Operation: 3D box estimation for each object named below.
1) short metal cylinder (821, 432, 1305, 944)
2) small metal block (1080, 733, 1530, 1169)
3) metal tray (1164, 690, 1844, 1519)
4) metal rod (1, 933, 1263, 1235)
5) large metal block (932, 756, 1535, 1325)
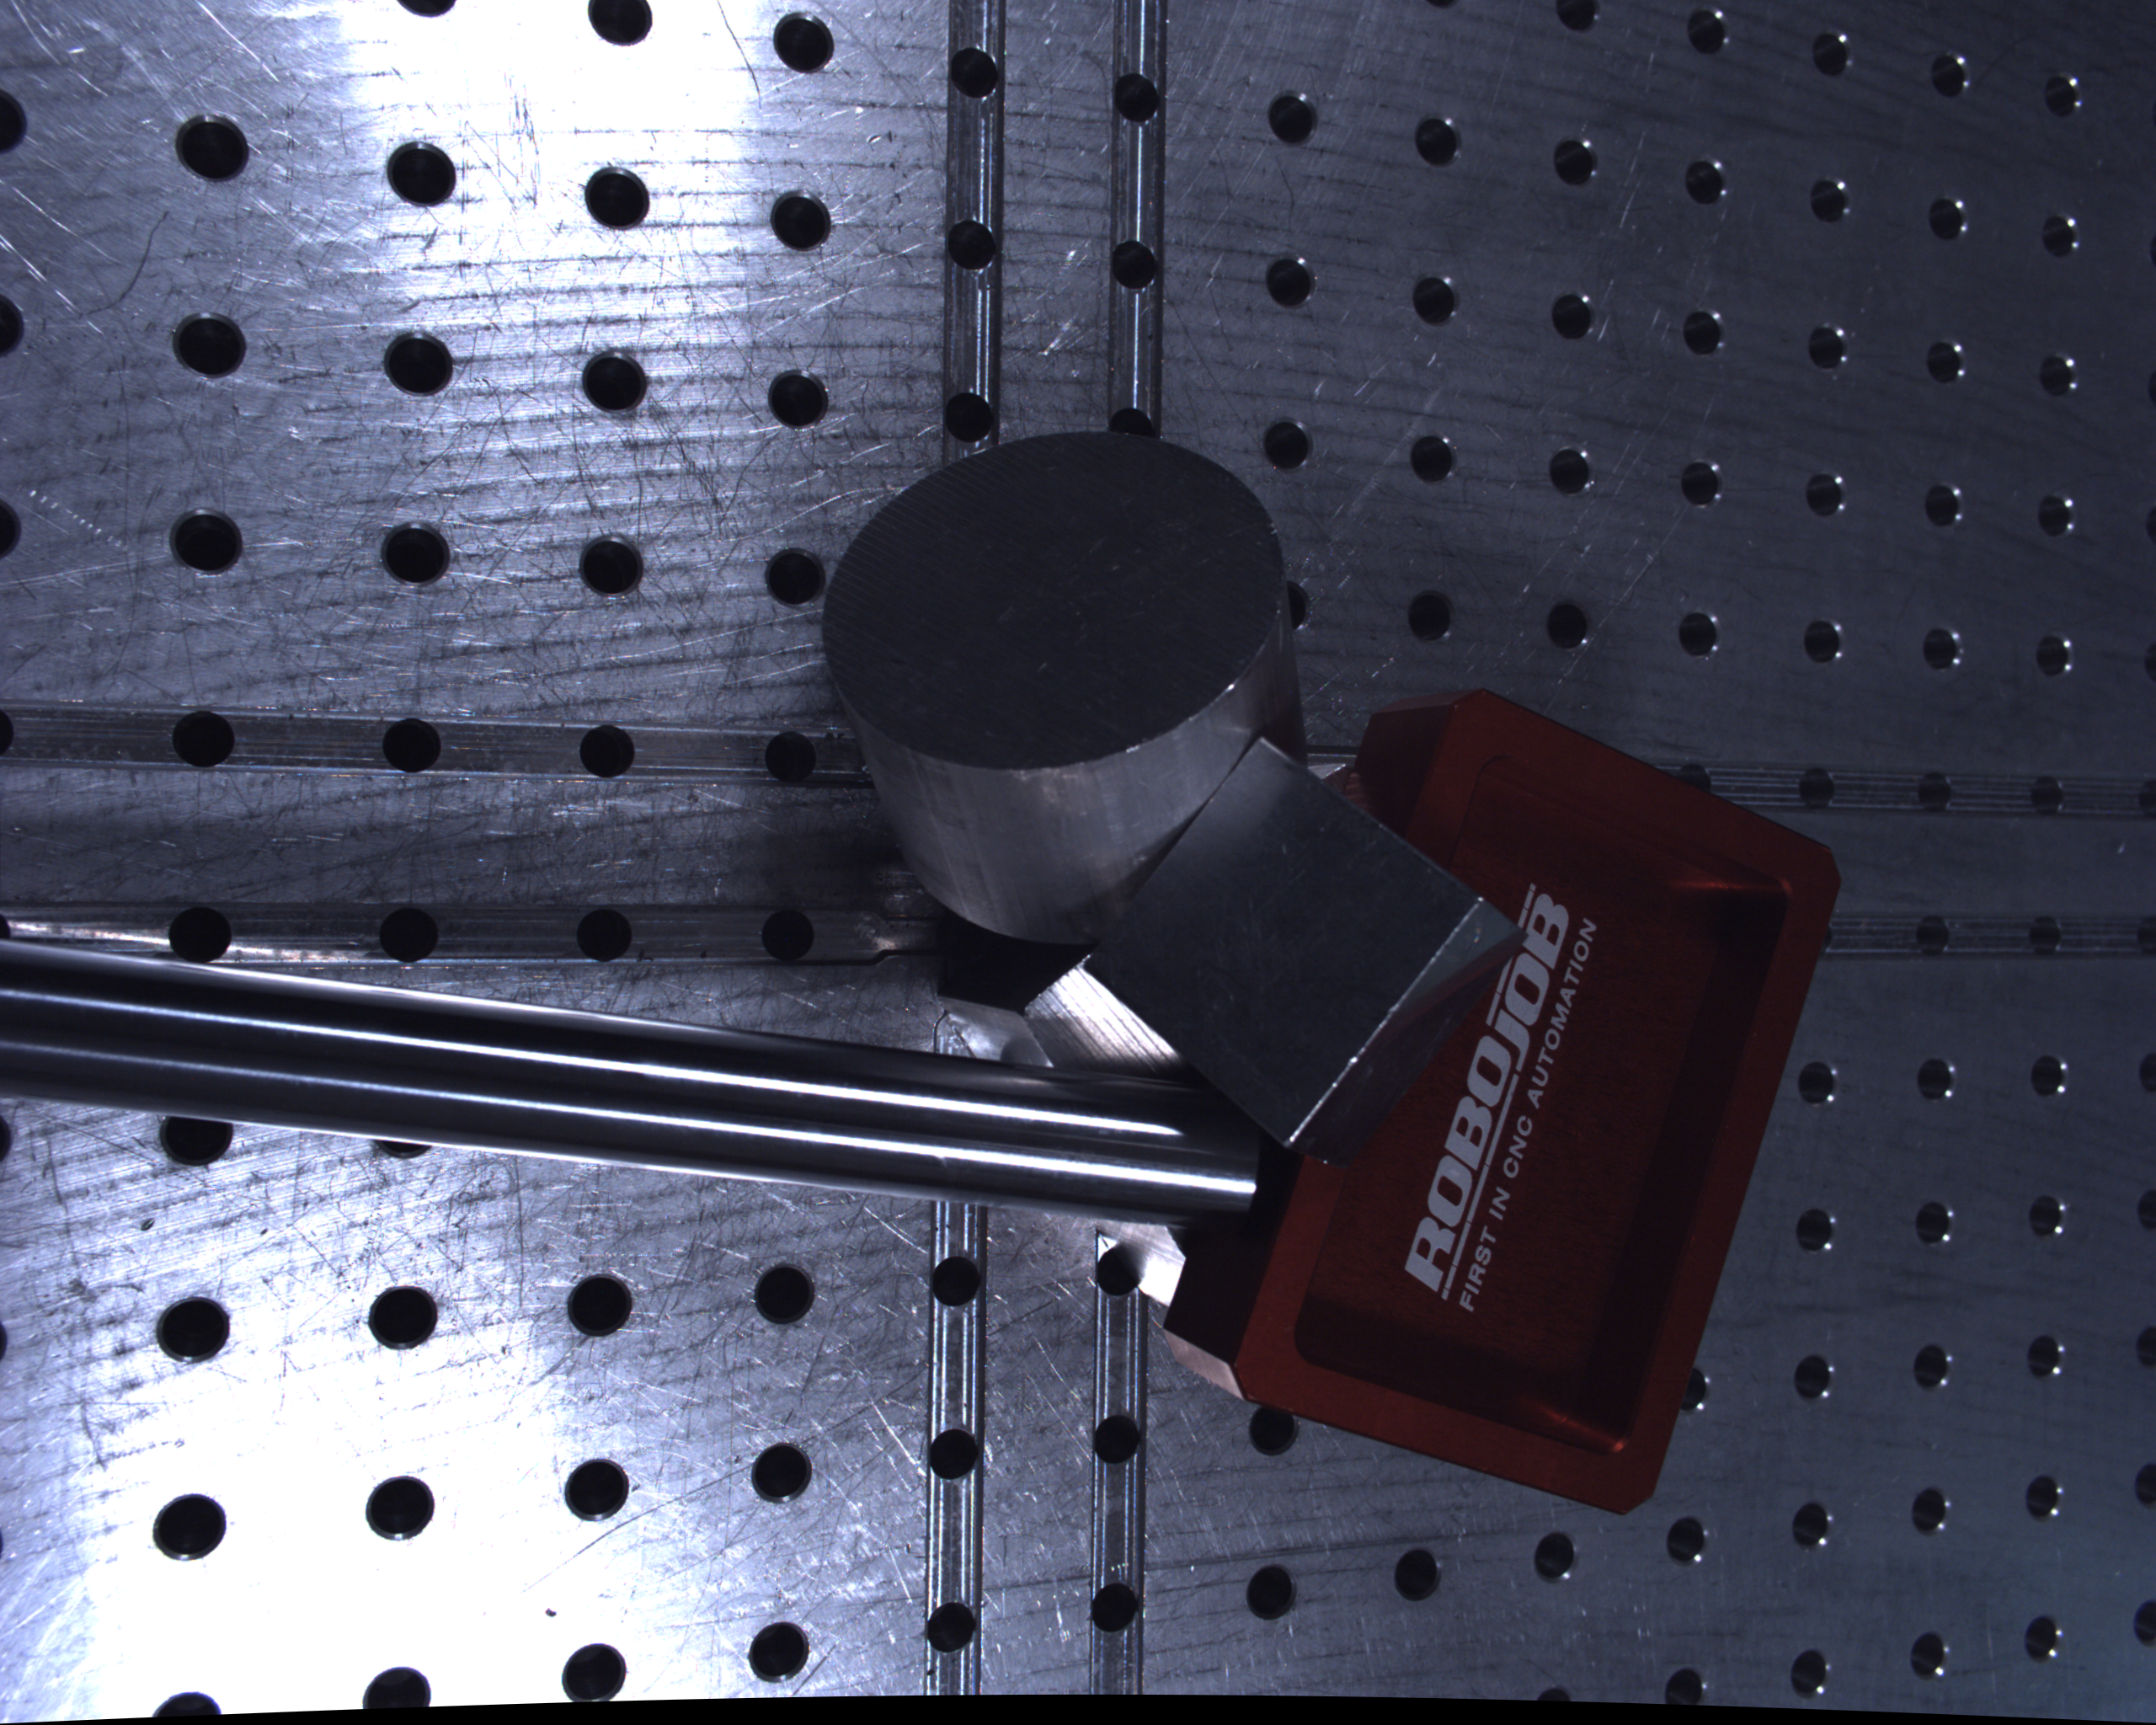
[{"bbox_3d":[-0.001,-0.032,0.377,0.080,0.080,0.050,-37,145,-17],"label":"short metal cylinder"},{"bbox_3d":[0.038,0.015,0.350,0.050,0.050,0.025,-53,147,5],"label":"small metal block"},{"bbox_3d":[0.080,0.044,0.385,0.091,0.030,0.129,22,82,-19],"label":"metal tray"},{"bbox_3d":[-0.119,0.031,0.338,0.302,0.025,0.025,8,87,-9],"label":"metal rod"},{"bbox_3d":[0.032,0.035,0.411,0.080,0.050,0.080,-37,102,-17],"label":"large metal block"}]
